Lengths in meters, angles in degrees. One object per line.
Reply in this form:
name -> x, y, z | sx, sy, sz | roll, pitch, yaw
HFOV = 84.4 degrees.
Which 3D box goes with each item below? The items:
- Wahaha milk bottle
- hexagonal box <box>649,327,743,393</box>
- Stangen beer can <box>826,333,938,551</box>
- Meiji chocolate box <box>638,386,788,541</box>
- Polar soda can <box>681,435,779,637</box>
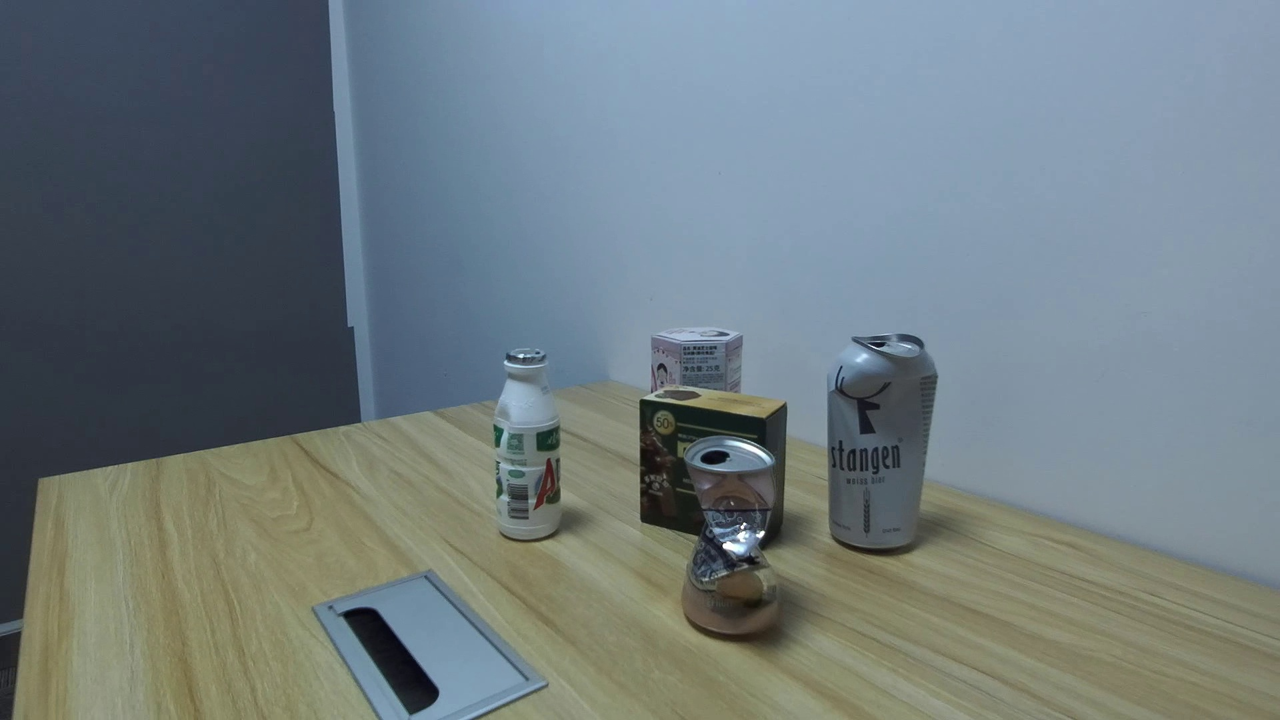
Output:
Wahaha milk bottle -> -0.089, 0.071, 0.558 | 0.053, 0.136, 0.053 | 1, 13, 0
hexagonal box -> 0.054, 0.040, 0.700 | 0.083, 0.136, 0.091 | 6, 13, 24
Stangen beer can -> 0.182, 0.063, 0.539 | 0.065, 0.162, 0.077 | 8, 15, 34
Meiji chocolate box -> 0.058, 0.083, 0.567 | 0.109, 0.109, 0.056 | 7, 15, 30
Polar soda can -> 0.056, 0.109, 0.436 | 0.074, 0.114, 0.070 | 6, 18, 42
